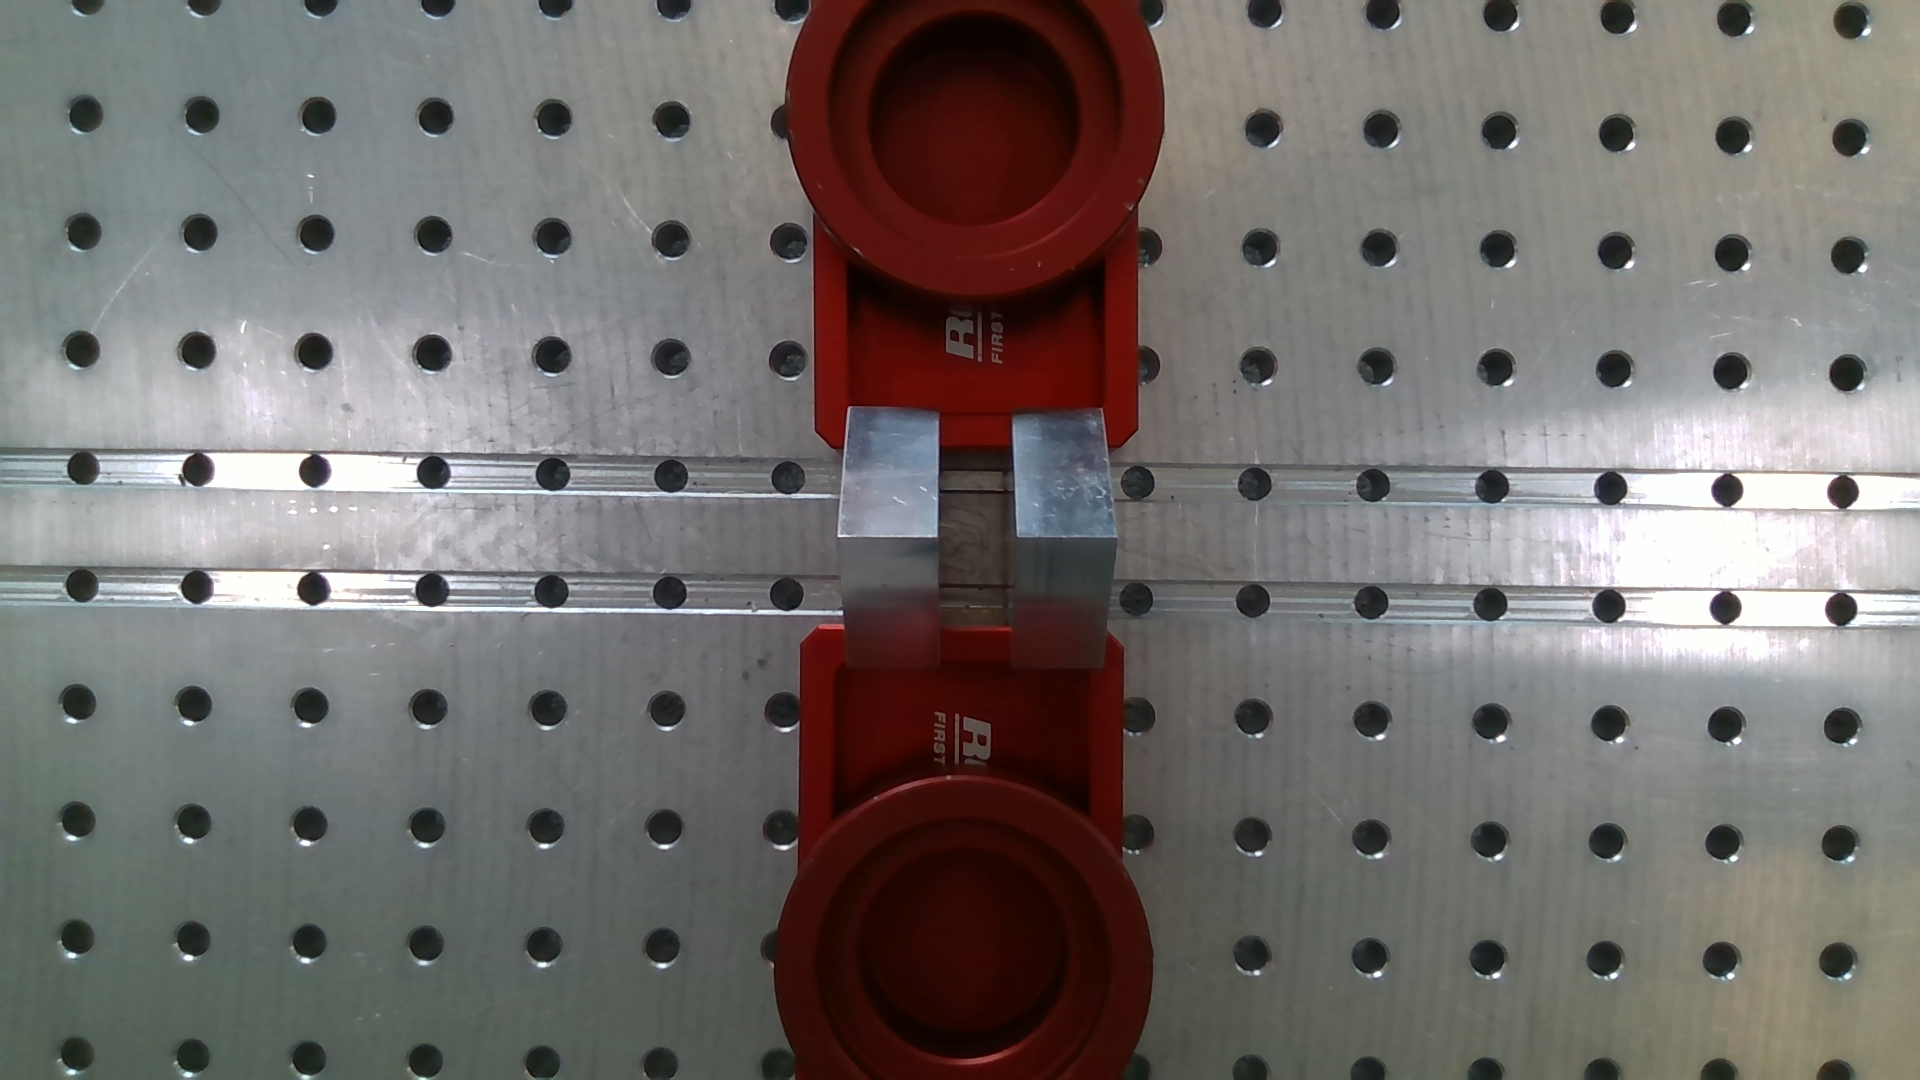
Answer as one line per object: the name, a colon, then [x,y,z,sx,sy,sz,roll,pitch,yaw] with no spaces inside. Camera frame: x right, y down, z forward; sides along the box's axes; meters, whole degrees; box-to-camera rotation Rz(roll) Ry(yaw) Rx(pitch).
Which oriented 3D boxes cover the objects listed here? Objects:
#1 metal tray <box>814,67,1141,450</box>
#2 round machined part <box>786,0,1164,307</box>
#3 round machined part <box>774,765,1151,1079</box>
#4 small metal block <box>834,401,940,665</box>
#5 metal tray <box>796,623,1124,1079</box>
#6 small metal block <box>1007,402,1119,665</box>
metal tray: [0.005,-0.091,0.396,0.090,0.030,0.130,-1,90,2]
round machined part: [0.004,-0.112,0.376,0.098,0.042,0.098,0,90,0]
round machined part: [0.001,0.110,0.377,0.098,0.042,0.098,0,90,0]
small metal block: [-0.018,-0.002,0.371,0.025,0.050,0.050,1,46,0]
metal tray: [0.000,0.089,0.396,0.090,0.030,0.130,1,90,0]
small metal block: [0.026,-0.002,0.371,0.025,0.050,0.050,1,46,0]
